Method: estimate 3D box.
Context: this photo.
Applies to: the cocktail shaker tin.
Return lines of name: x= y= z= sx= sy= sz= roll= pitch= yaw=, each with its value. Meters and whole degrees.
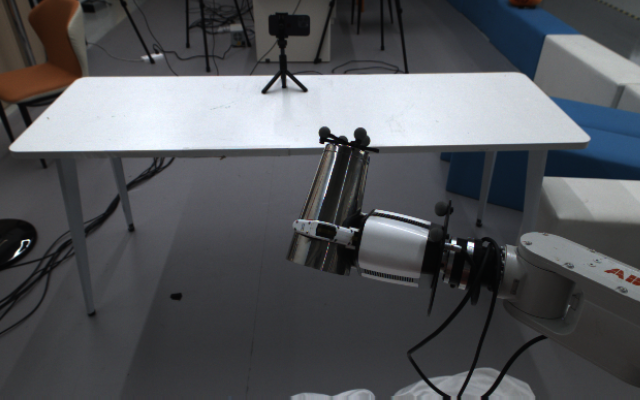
cocktail shaker tin: x=0.018 y=0.012 z=0.681 sx=0.093 sy=0.170 sz=0.093 roll=15 pitch=-4 yaw=1
